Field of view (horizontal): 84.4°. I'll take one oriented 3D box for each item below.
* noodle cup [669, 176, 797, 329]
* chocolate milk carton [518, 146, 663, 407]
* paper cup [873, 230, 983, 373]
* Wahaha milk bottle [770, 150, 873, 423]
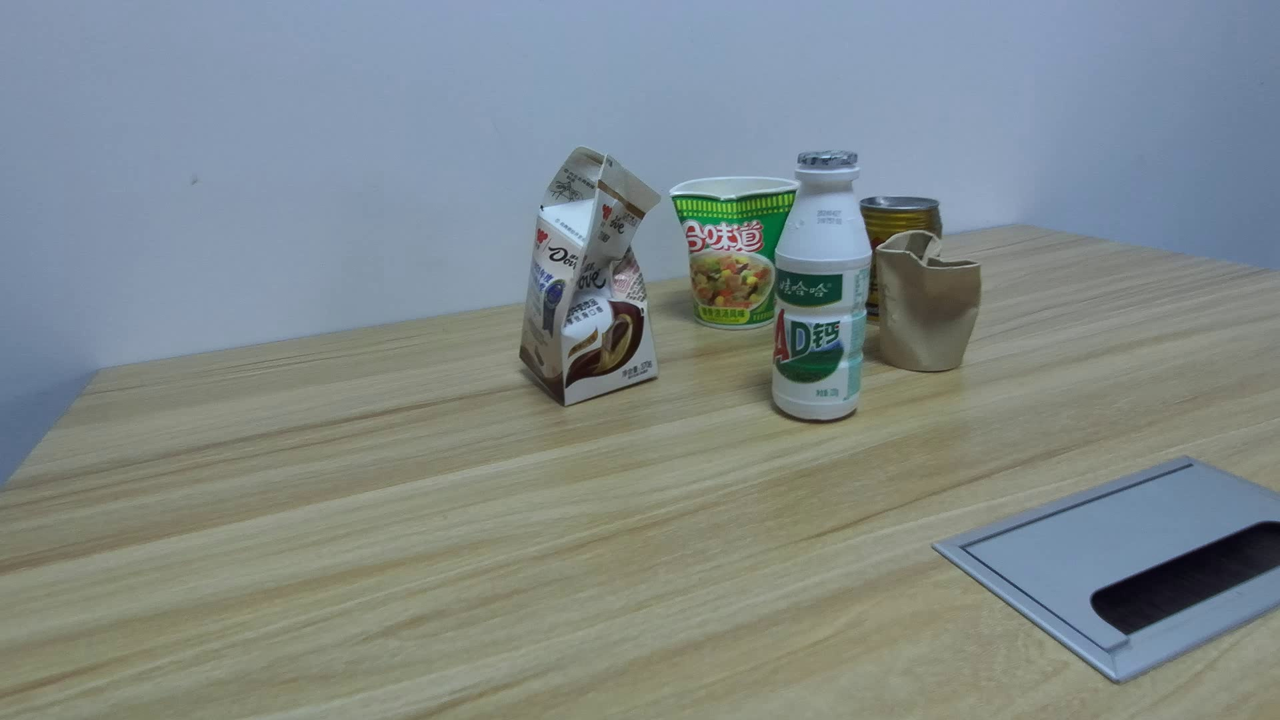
[{"bbox_3d":[0.079,-0.087,0.569,0.093,0.109,0.087,7,24,25],"label":"noodle cup"},{"bbox_3d":[-0.028,-0.055,0.460,0.090,0.155,0.076,-2,20,-38],"label":"chocolate milk carton"},{"bbox_3d":[0.193,-0.037,0.469,0.058,0.083,0.067,16,31,33],"label":"paper cup"},{"bbox_3d":[0.102,-0.040,0.397,0.053,0.147,0.053,-3,21,1],"label":"Wahaha milk bottle"}]
